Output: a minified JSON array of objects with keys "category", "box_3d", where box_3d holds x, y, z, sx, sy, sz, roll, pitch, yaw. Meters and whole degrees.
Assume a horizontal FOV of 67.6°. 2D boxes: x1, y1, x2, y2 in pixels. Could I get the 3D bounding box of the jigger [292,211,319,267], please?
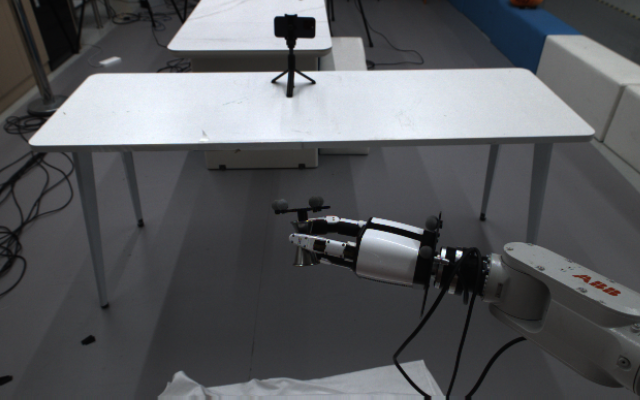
[{"category":"jigger","box_3d":[-0.024,0.065,0.748,0.043,0.071,0.043,-4,1,0]}]
